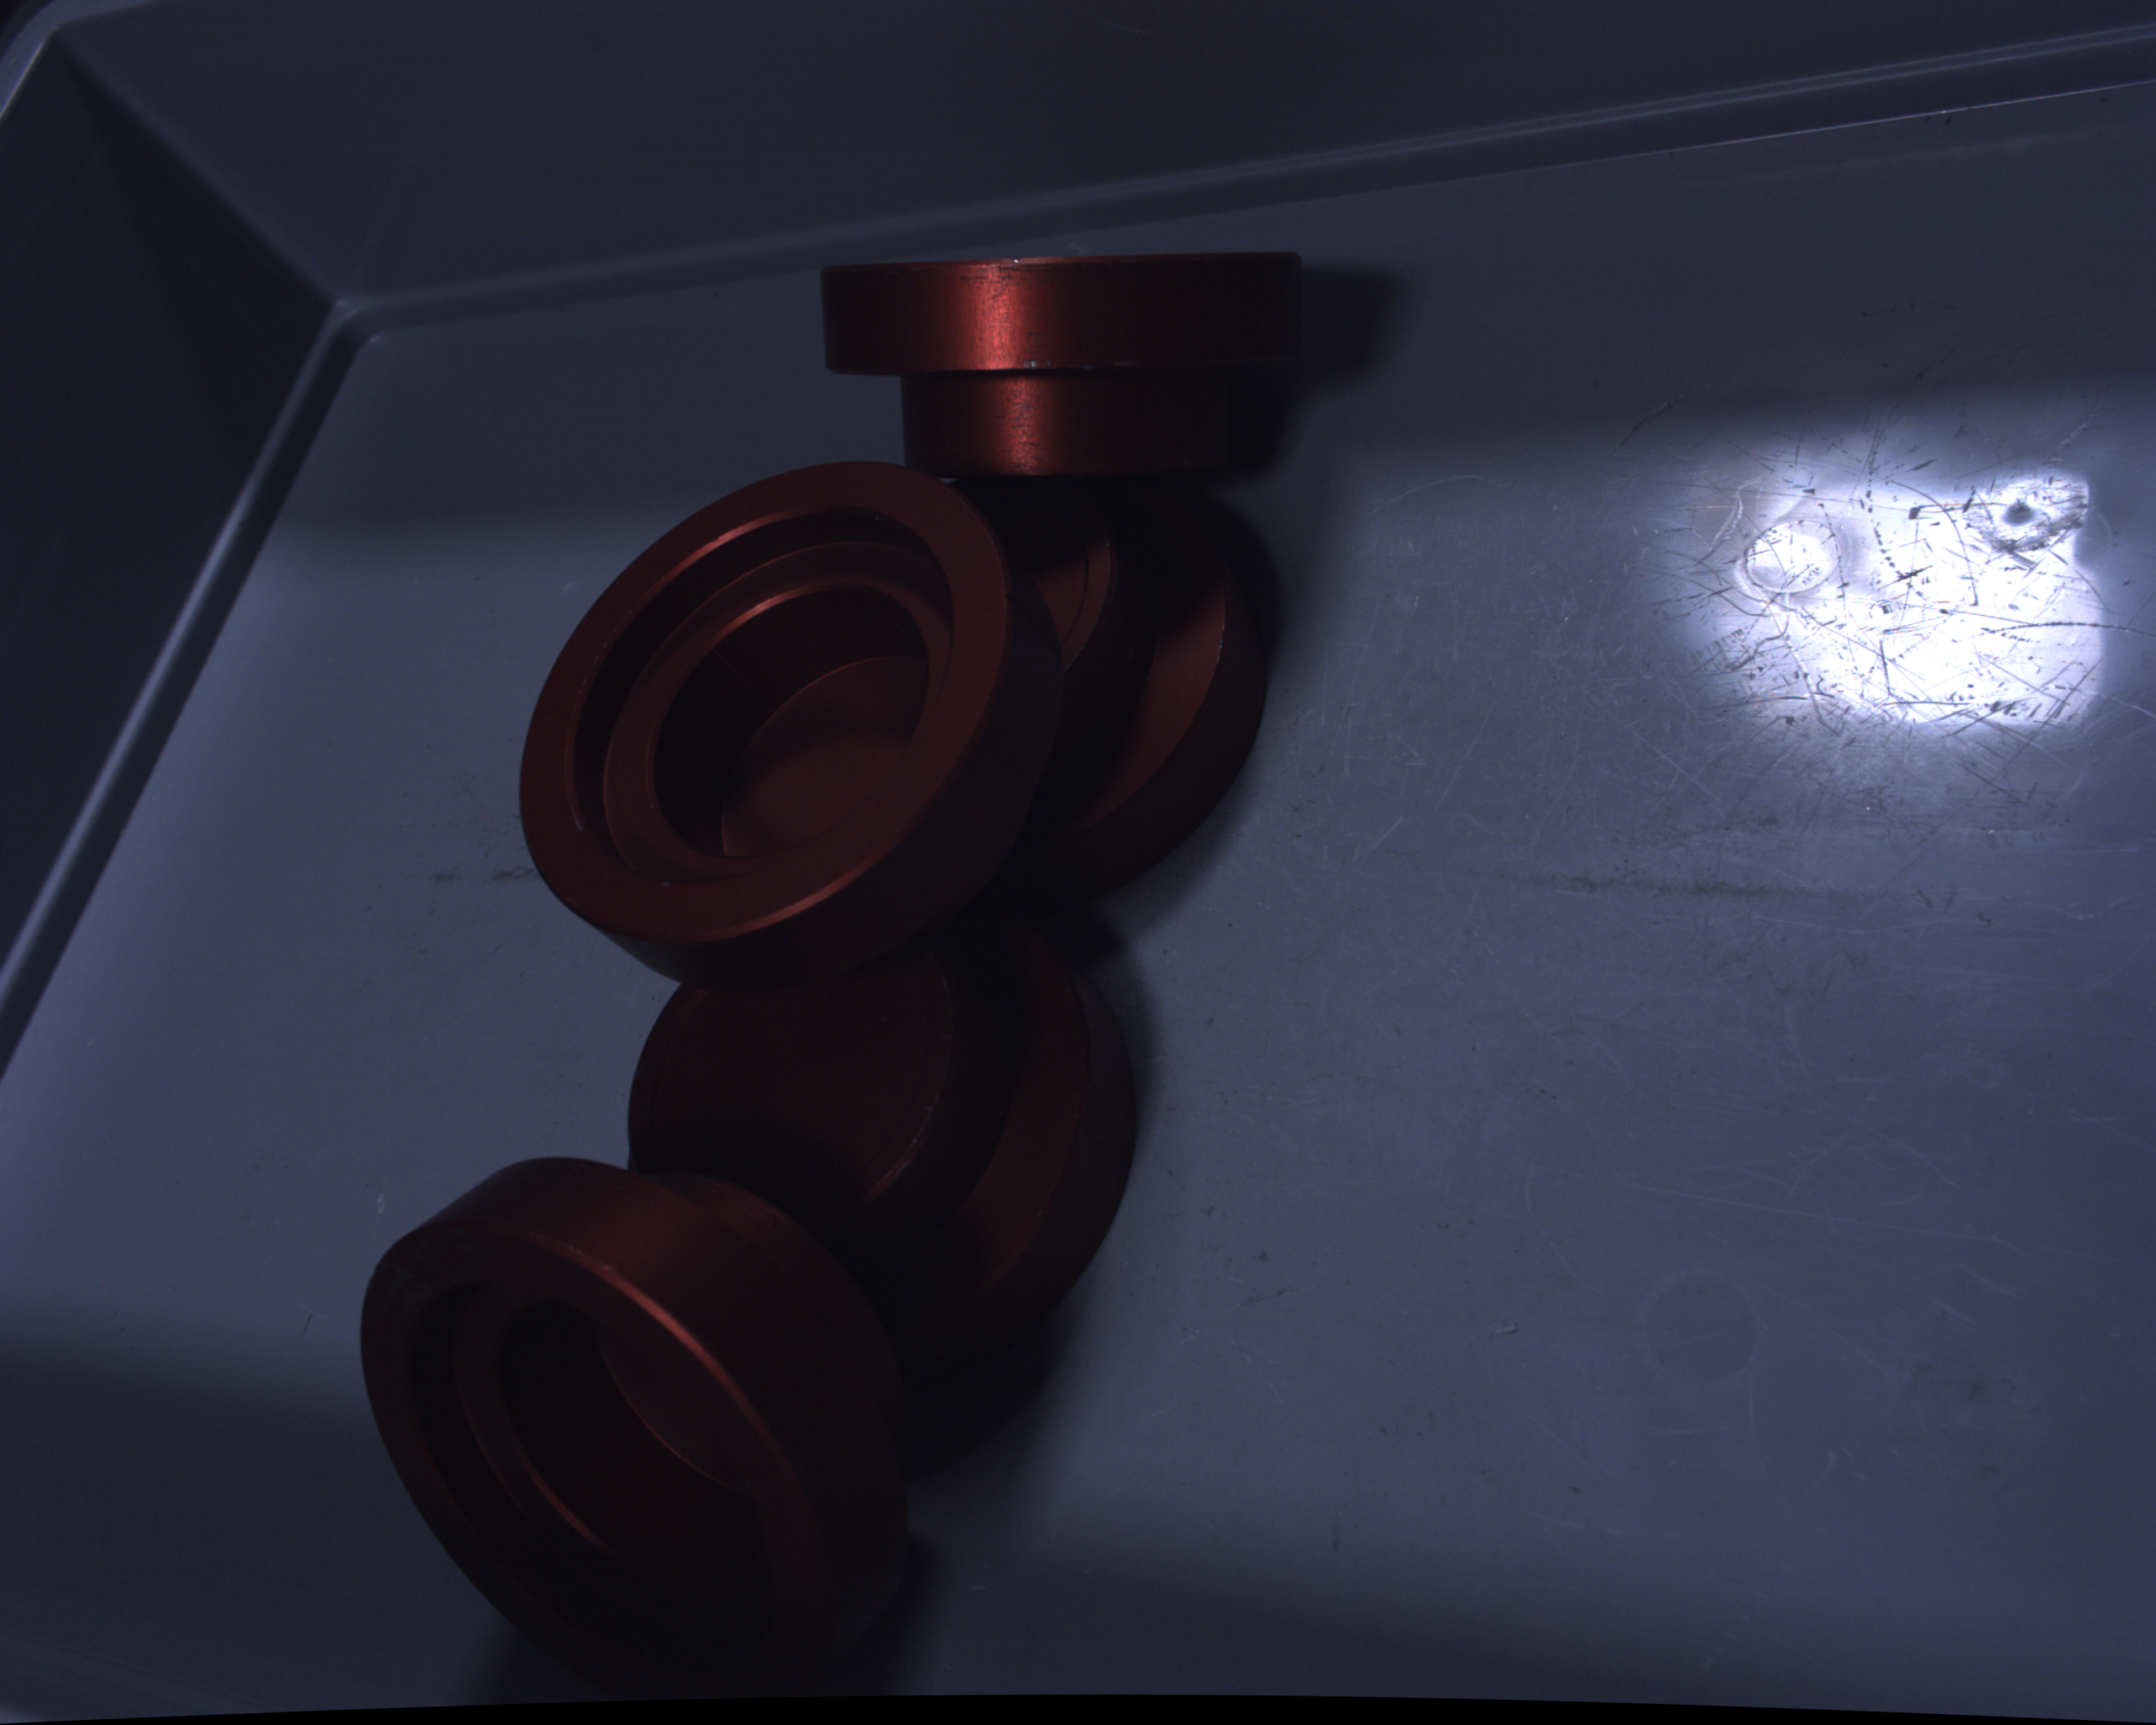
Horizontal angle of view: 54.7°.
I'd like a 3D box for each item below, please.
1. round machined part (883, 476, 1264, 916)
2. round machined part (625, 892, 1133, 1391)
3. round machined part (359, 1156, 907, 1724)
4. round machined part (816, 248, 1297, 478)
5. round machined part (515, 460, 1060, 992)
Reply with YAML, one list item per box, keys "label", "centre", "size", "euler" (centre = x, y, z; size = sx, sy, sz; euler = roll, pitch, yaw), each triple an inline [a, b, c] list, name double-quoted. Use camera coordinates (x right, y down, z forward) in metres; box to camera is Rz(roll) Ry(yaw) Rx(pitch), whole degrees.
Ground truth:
- label: "round machined part"
  centre: [-0.016, -0.040, 0.424]
  size: [0.098, 0.042, 0.098]
  euler: [-13, 56, 20]
- label: "round machined part"
  centre: [-0.043, 0.046, 0.385]
  size: [0.098, 0.042, 0.098]
  euler: [-13, 56, 20]
- label: "round machined part"
  centre: [-0.069, 0.091, 0.348]
  size: [0.098, 0.097, 0.042]
  euler: [7, 27, 30]
- label: "round machined part"
  centre: [-0.004, -0.104, 0.434]
  size: [0.098, 0.099, 0.042]
  euler: [8, 108, 31]
- label: "round machined part"
  centre: [-0.048, -0.021, 0.374]
  size: [0.098, 0.042, 0.098]
  euler: [-13, 56, 20]
